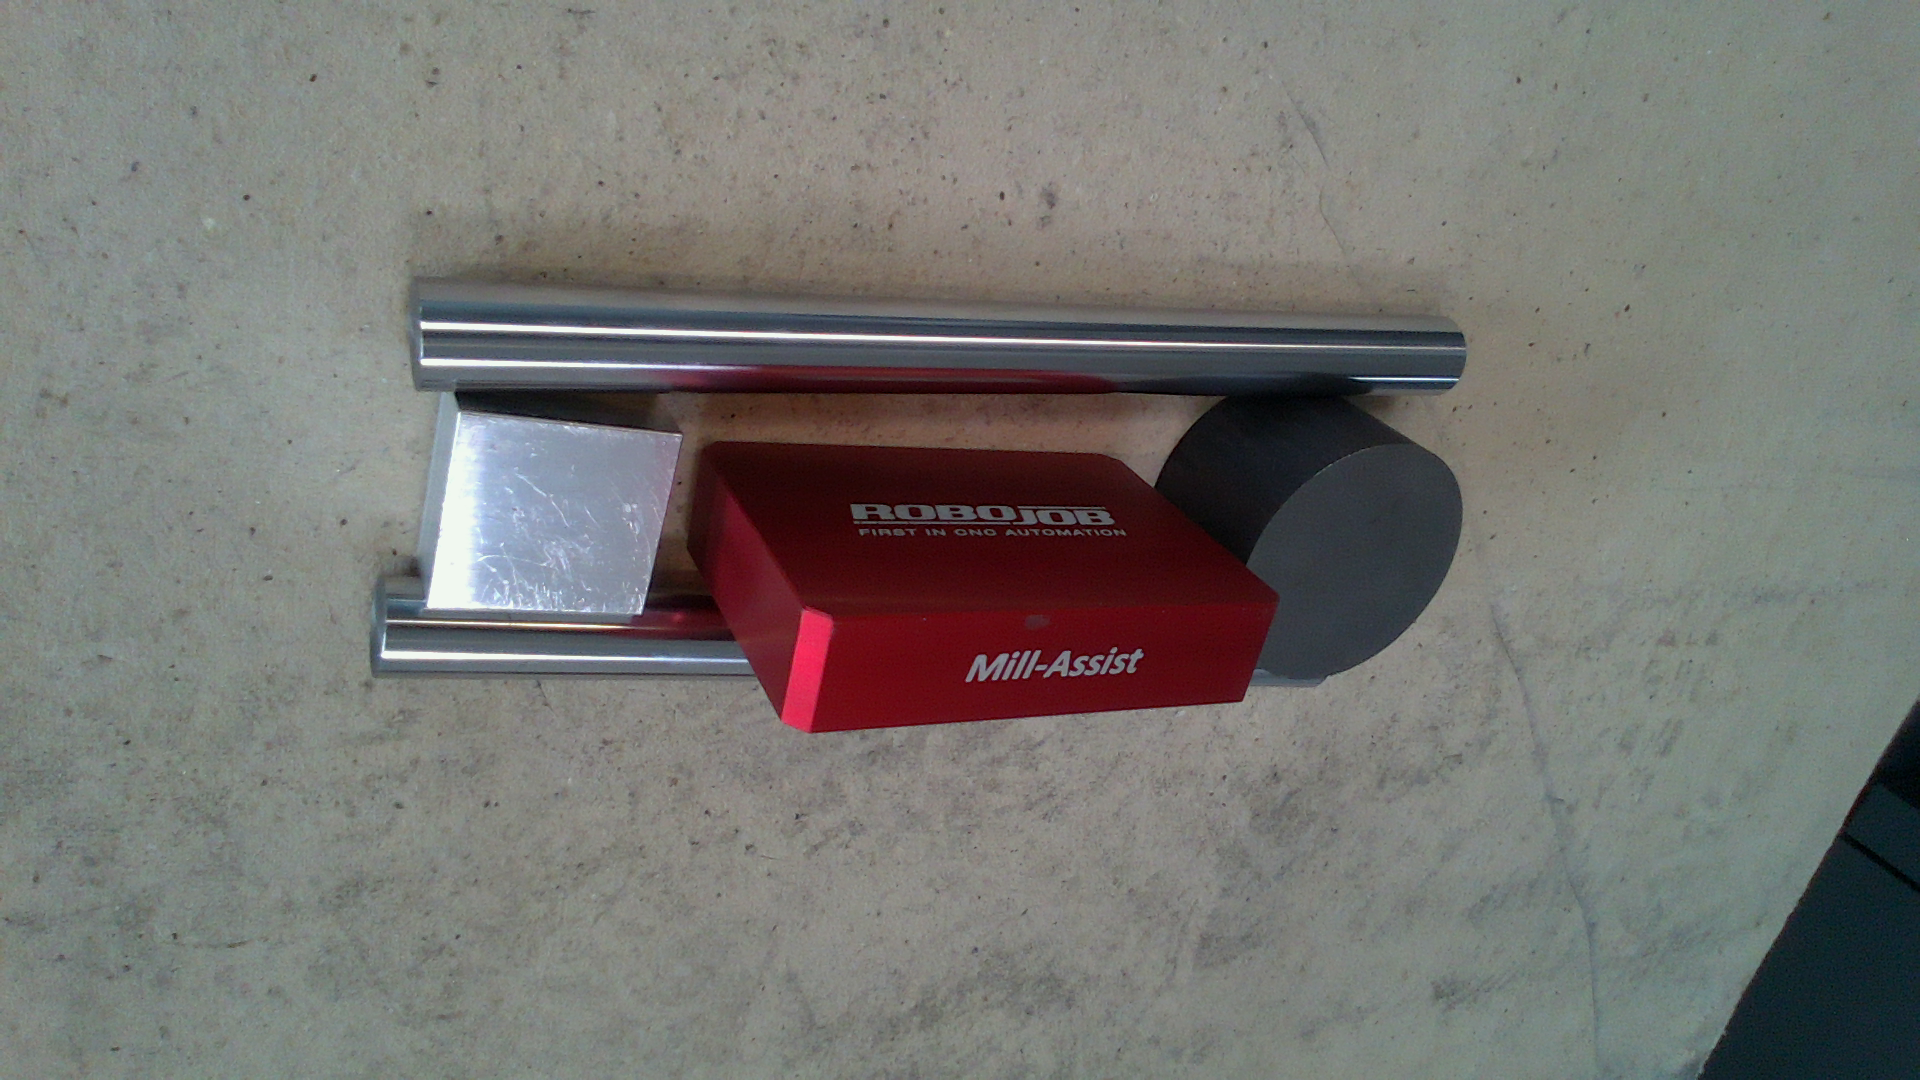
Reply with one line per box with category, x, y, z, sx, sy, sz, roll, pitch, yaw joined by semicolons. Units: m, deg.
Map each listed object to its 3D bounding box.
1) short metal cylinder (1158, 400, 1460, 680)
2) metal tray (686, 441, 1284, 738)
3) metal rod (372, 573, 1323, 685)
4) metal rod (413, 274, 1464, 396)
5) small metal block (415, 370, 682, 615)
short metal cylinder;0.106;-0.004;0.428;0.080;0.050;0.080;-14;124;-21
metal tray;0.005;0.009;0.354;0.130;0.090;0.030;0;118;-28
metal rod;-0.009;0.029;0.403;0.301;0.025;0.025;4;116;-30
metal rod;0.016;-0.052;0.366;0.301;0.025;0.025;-3;120;-27
small metal block;-0.099;-0.011;0.330;0.050;0.025;0.050;4;116;-30
